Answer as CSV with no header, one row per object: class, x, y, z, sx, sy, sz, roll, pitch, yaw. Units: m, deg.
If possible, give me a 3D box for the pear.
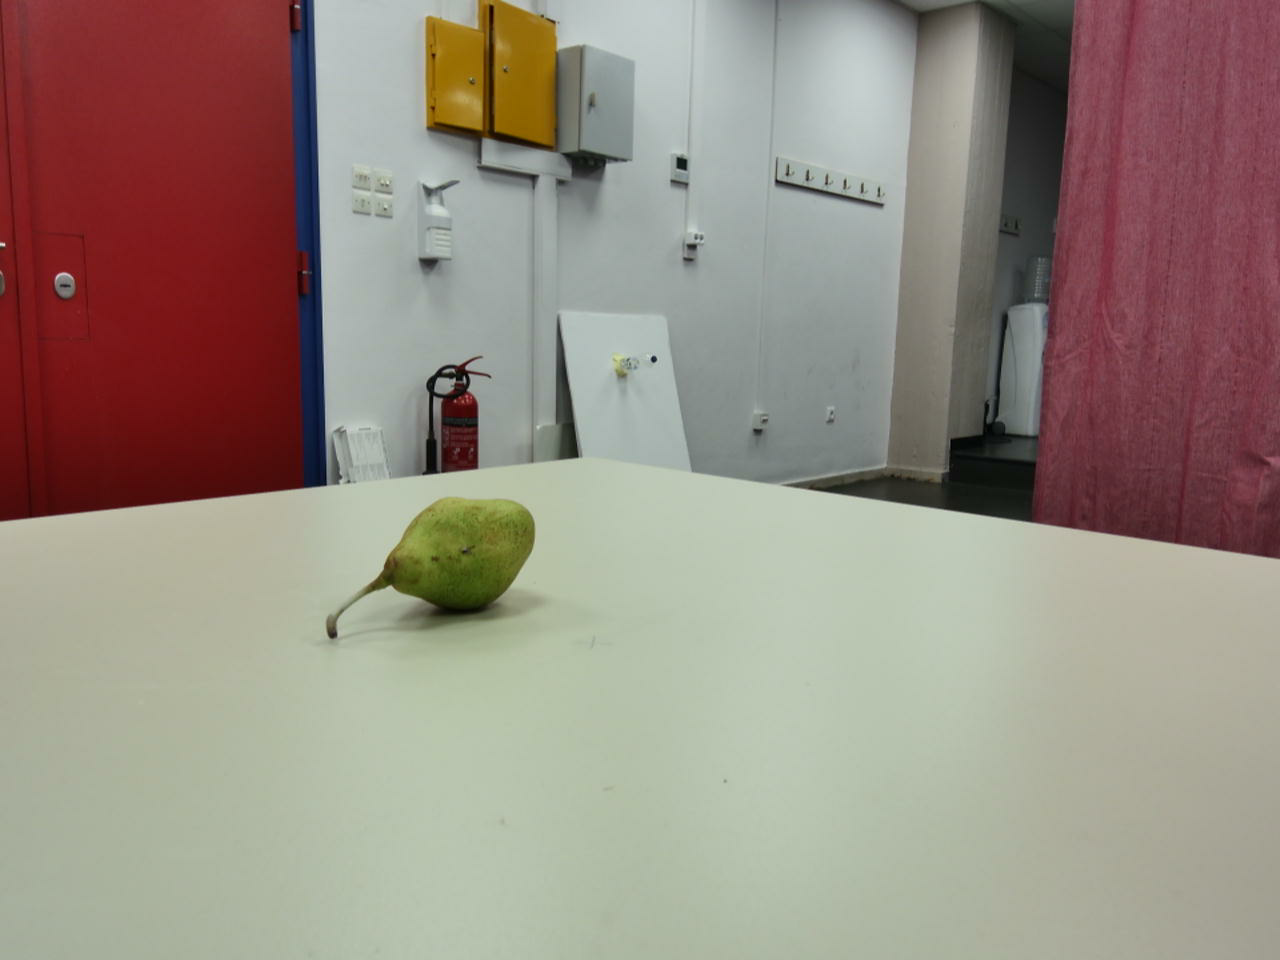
pear,-0.105,0.038,0.488,0.111,0.056,0.056,-4,8,-33
